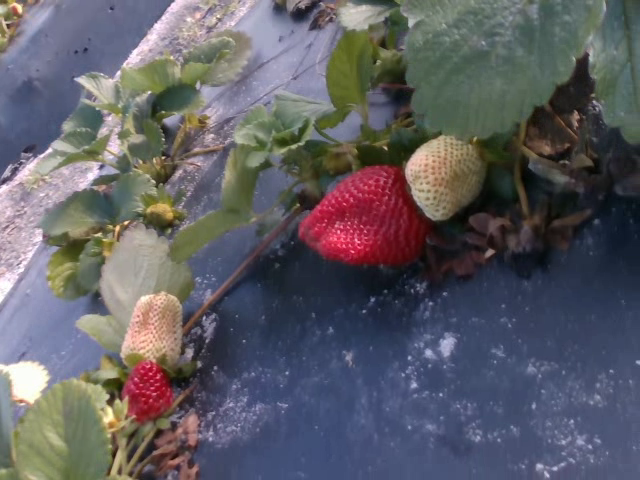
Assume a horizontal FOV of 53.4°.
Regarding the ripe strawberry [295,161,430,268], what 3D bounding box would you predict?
[{"bbox_3d":[0.020,-0.008,0.297,0.070,0.058,0.057,-11,-26,-20],"label":"ripe strawberry"}]
